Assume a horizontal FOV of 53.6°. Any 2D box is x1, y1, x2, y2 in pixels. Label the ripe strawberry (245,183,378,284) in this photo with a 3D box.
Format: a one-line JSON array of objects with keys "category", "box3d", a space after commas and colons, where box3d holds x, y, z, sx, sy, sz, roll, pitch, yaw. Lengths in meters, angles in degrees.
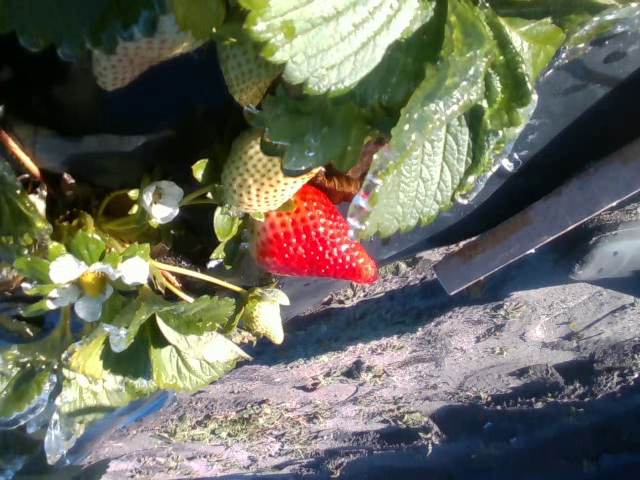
[{"category": "ripe strawberry", "box3d": [0.000, 0.002, 0.228, 0.053, 0.042, 0.040, 30, -16, 4]}]
